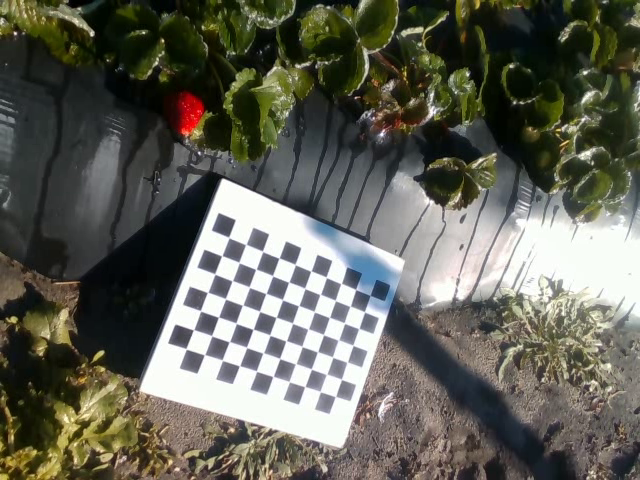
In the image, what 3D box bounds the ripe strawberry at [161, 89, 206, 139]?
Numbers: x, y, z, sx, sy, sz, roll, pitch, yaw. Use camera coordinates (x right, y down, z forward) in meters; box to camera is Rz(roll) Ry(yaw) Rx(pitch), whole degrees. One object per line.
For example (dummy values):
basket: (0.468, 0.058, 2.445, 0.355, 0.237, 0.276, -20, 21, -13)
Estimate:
ripe strawberry: (-0.128, -0.118, 0.567, 0.041, 0.053, 0.047, 16, -44, -24)
